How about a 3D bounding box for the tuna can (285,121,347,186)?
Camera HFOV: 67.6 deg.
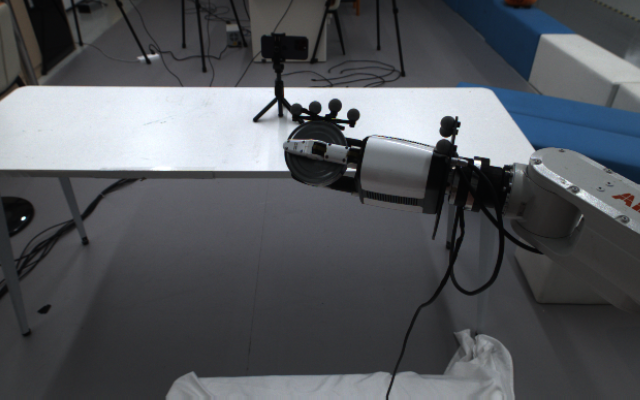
[{"bbox_3d":[-0.002,-0.063,0.652,0.085,0.085,0.034,11,-7,13],"label":"tuna can"}]
